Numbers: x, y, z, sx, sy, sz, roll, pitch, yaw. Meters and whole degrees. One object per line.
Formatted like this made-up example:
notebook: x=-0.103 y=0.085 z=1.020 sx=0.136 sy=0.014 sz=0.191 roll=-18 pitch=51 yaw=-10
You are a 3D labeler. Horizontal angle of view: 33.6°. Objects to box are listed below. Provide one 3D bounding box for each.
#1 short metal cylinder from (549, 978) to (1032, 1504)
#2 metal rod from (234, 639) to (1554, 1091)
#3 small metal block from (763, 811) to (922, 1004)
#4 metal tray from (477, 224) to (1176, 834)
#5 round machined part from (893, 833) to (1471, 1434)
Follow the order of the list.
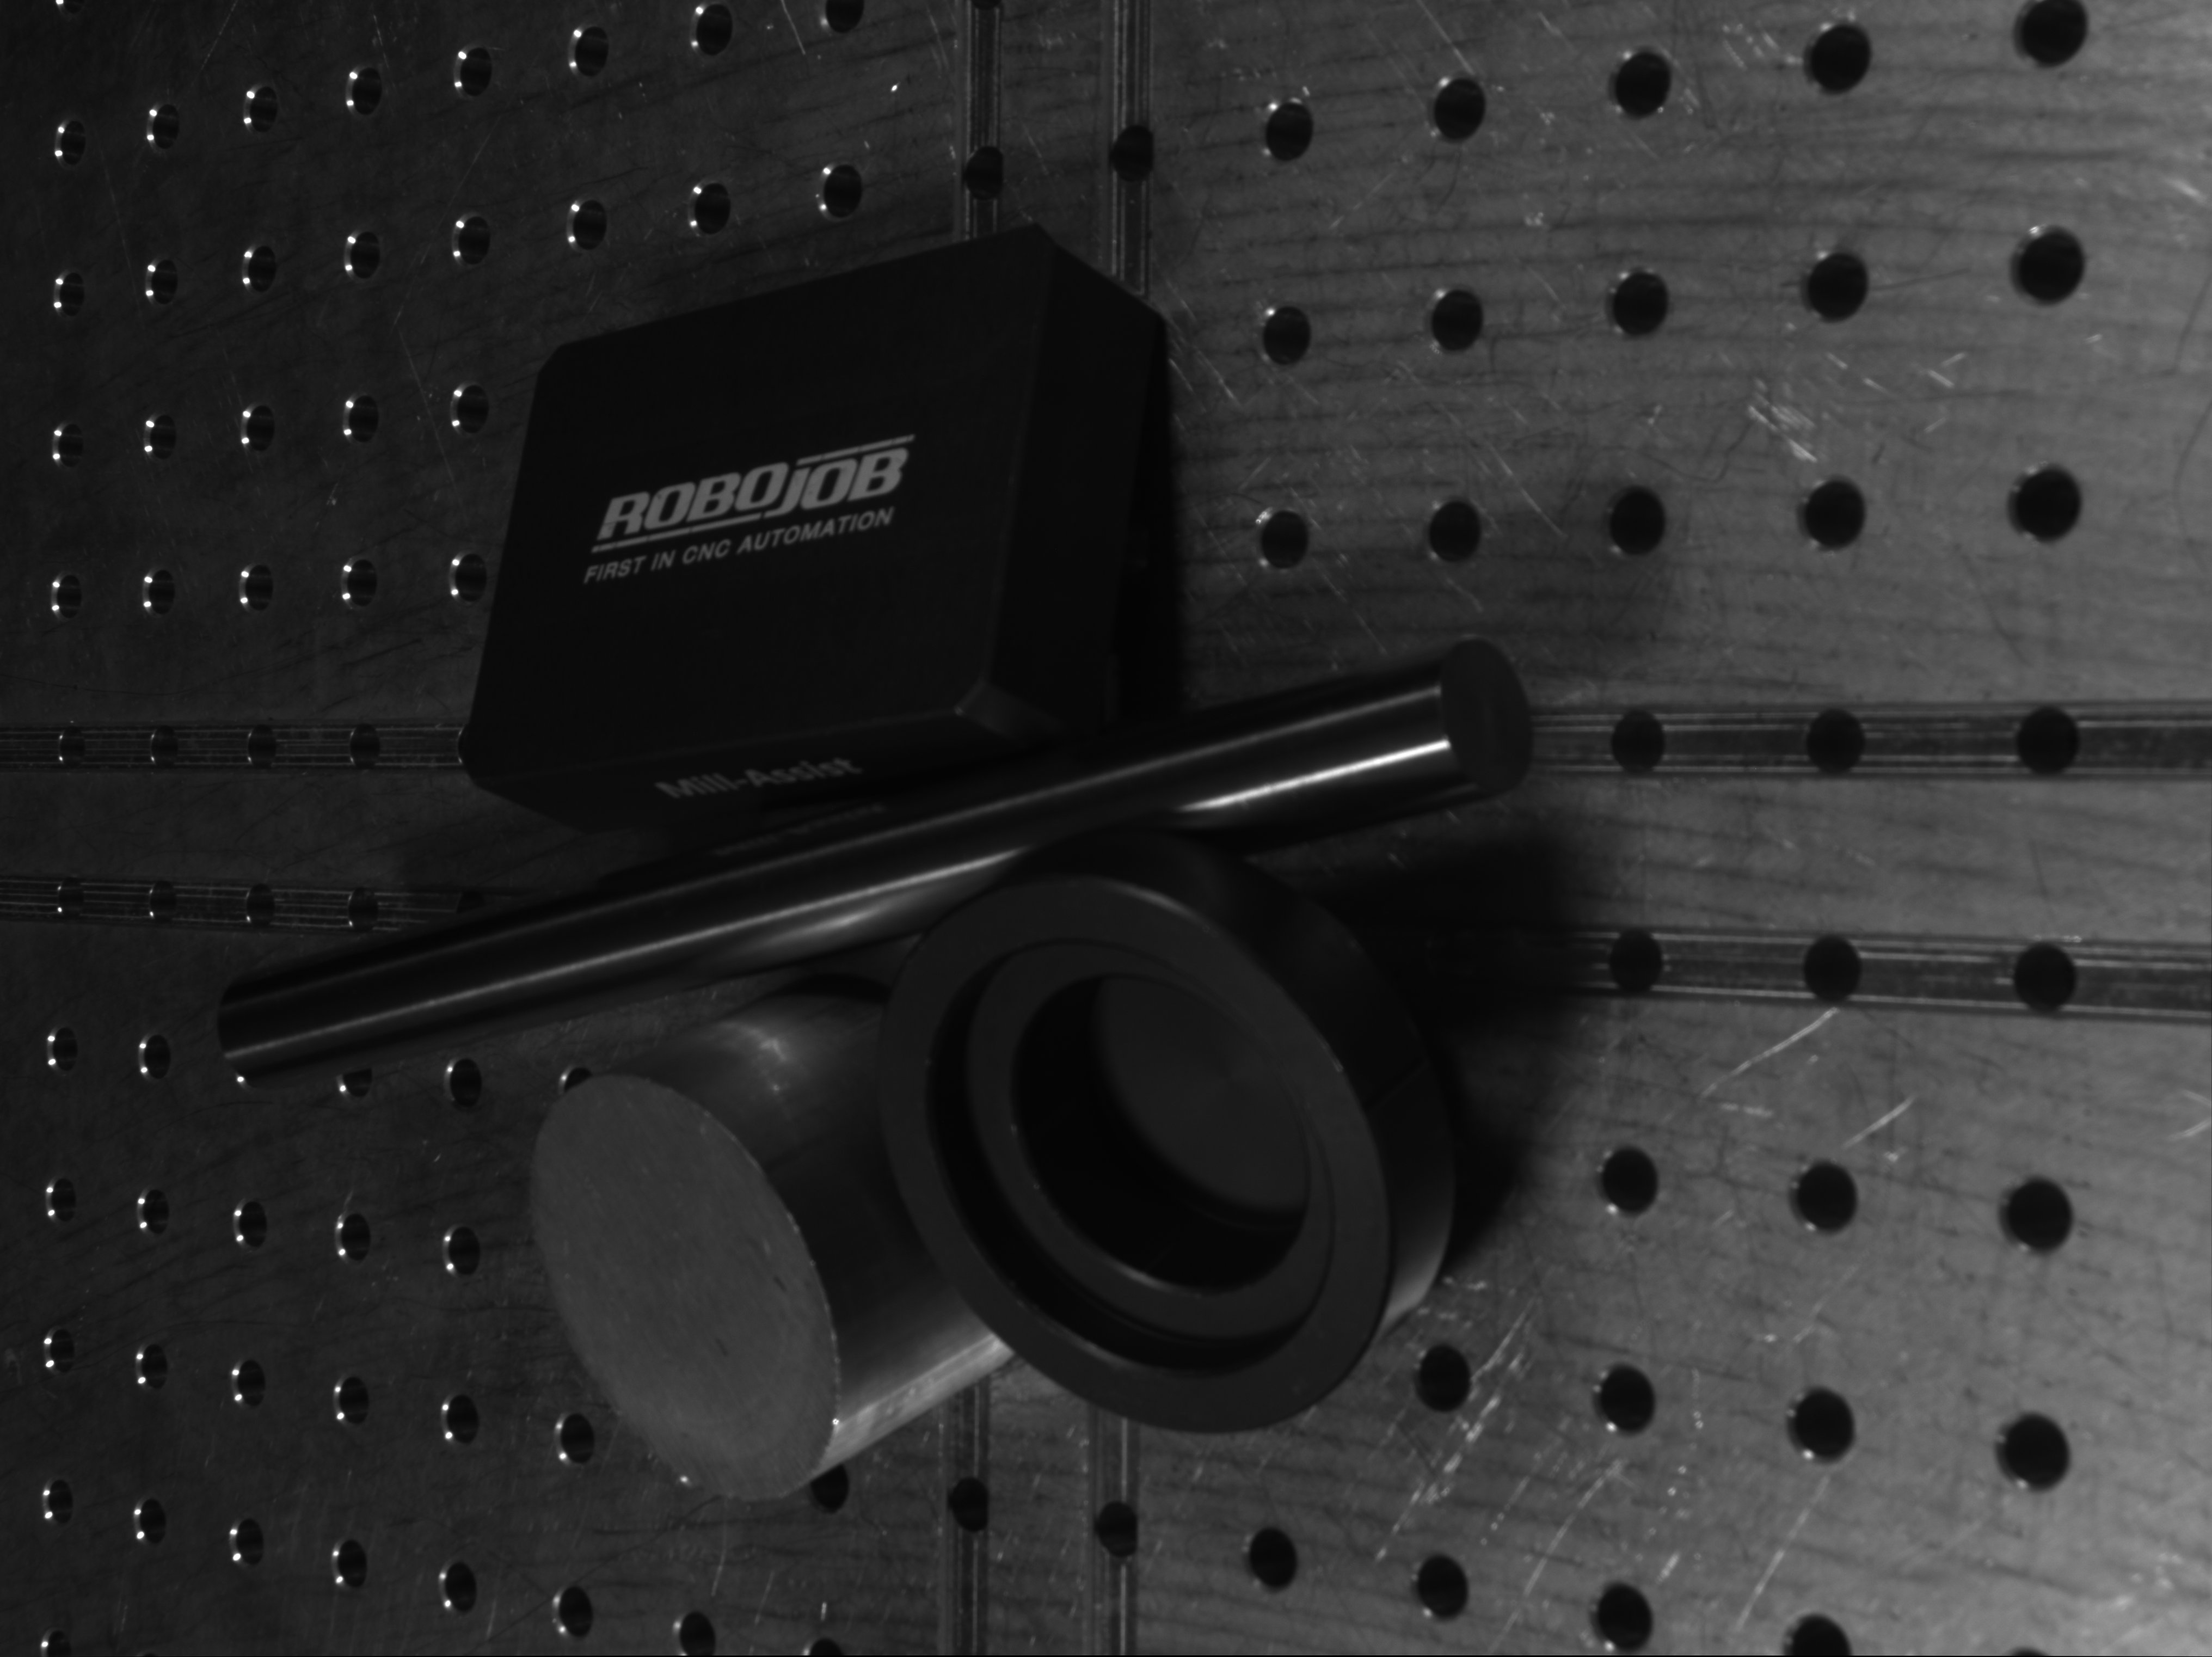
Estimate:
short metal cylinder: x=-0.054 y=0.073 z=0.652 sx=0.080 sy=0.050 sz=0.080 roll=21 pitch=122 yaw=38
metal rod: x=-0.053 y=0.012 z=0.649 sx=0.299 sy=0.025 sz=0.025 roll=-14 pitch=81 yaw=38
small metal block: x=-0.033 y=0.020 z=0.677 sx=0.050 sy=0.025 sz=0.050 roll=23 pitch=104 yaw=37
metal tray: x=-0.052 y=-0.051 z=0.661 sx=0.130 sy=0.030 sz=0.090 roll=-7 pitch=67 yaw=39
round machined part: x=0.017 y=0.046 z=0.599 sx=0.098 sy=0.042 sz=0.098 roll=15 pitch=120 yaw=29
